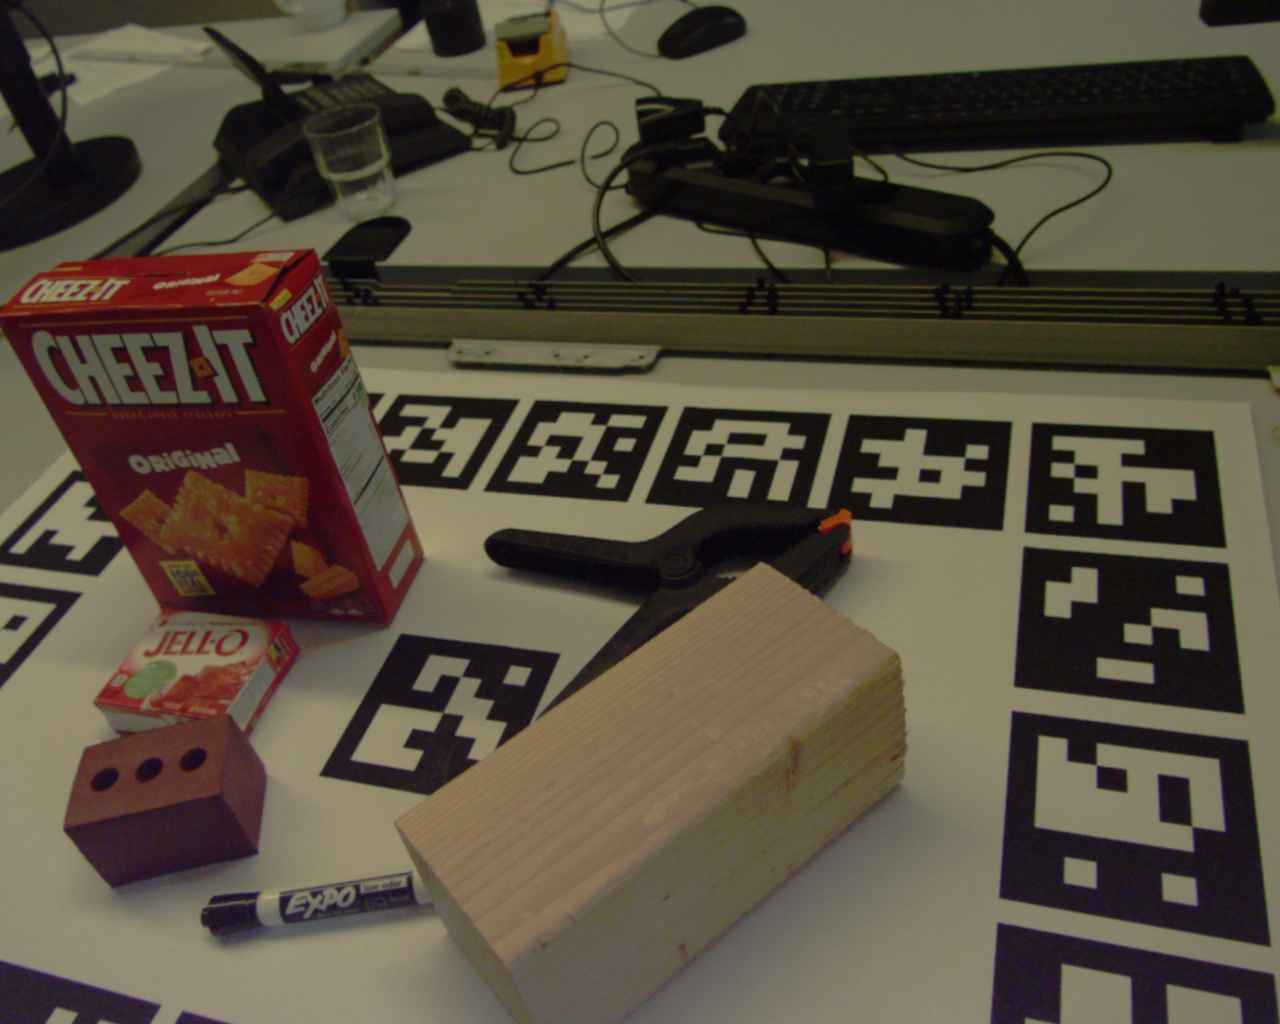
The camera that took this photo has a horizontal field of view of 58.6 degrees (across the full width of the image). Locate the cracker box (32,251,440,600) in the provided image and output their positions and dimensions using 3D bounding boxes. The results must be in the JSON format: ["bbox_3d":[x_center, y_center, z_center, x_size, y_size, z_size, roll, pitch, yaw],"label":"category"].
[{"bbox_3d":[-0.230,-0.044,0.677,0.165,0.212,0.072,3,43,15],"label":"cracker box"}]

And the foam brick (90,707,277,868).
[{"bbox_3d":[-0.239,0.145,0.603,0.078,0.051,0.053,-14,44,1],"label":"foam brick"}]

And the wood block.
[{"bbox_3d":[0.007,0.126,0.531,0.205,0.090,0.091,-33,42,-23],"label":"wood block"}]

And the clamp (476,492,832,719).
[{"bbox_3d":[0.014,0.036,0.659,0.202,0.036,0.167,-18,43,-3],"label":"clamp"}]

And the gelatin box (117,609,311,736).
[{"bbox_3d":[-0.253,0.096,0.680,0.090,0.030,0.073,3,46,19],"label":"gelatin box"}]

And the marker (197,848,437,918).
[{"bbox_3d":[-0.160,0.183,0.562,0.121,0.019,0.020,-10,44,5],"label":"marker"}]
